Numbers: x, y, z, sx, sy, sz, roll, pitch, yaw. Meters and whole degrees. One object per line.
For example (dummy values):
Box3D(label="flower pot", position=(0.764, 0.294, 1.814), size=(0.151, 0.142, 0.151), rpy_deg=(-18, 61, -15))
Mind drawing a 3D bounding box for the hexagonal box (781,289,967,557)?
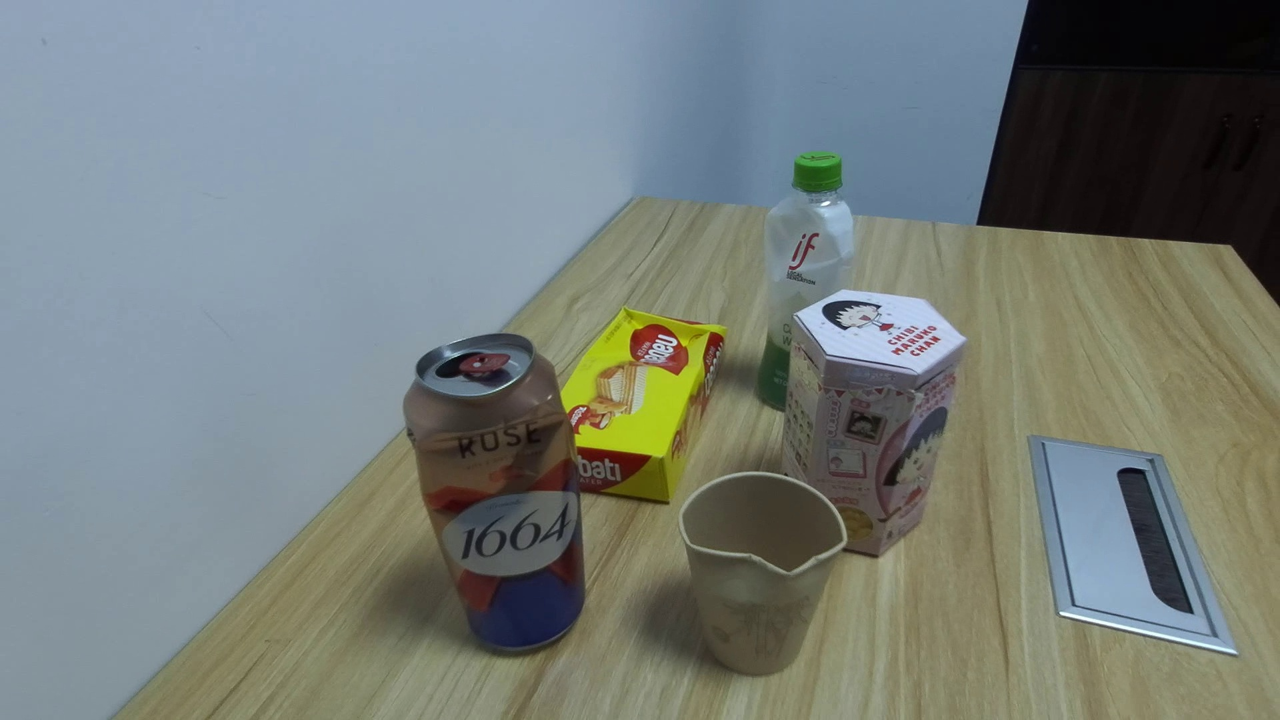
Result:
Box3D(label="hexagonal box", position=(0.131, 0.038, 0.413), size=(0.091, 0.136, 0.083), rpy_deg=(-27, 40, -32))

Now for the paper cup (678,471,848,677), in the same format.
Box3D(label="paper cup", position=(0.057, 0.109, 0.352), size=(0.074, 0.081, 0.068), rpy_deg=(-21, 37, -28))

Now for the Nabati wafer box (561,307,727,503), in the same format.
Box3D(label="Nabati wafer box", position=(0.002, 0.021, 0.539), size=(0.096, 0.042, 0.203), rpy_deg=(7, 33, 17))

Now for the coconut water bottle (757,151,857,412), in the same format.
Box3D(label="coconut water bottle", position=(0.120, -0.053, 0.507), size=(0.067, 0.187, 0.067), rpy_deg=(-1, 32, 1))

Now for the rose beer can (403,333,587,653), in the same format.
Box3D(label="rose beer can", position=(-0.067, 0.070, 0.356), size=(0.076, 0.167, 0.065), rpy_deg=(-8, 28, -2))
